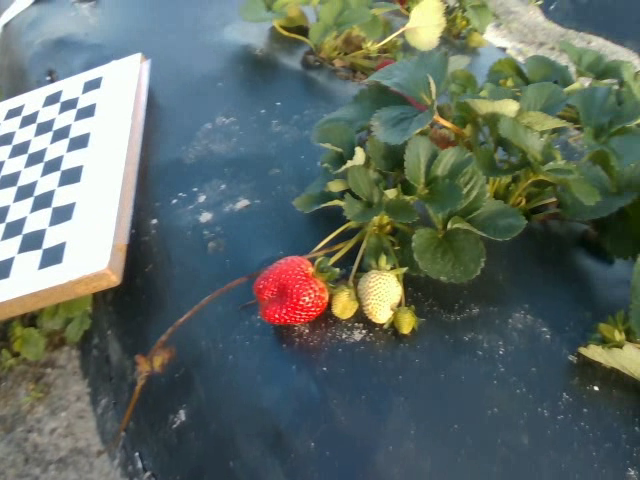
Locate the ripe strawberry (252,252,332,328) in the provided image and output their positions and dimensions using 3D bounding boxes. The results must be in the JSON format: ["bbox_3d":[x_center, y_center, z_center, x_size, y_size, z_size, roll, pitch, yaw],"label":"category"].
[{"bbox_3d":[-0.024,0.031,0.433,0.050,0.035,0.048,-27,46,-10],"label":"ripe strawberry"}]
